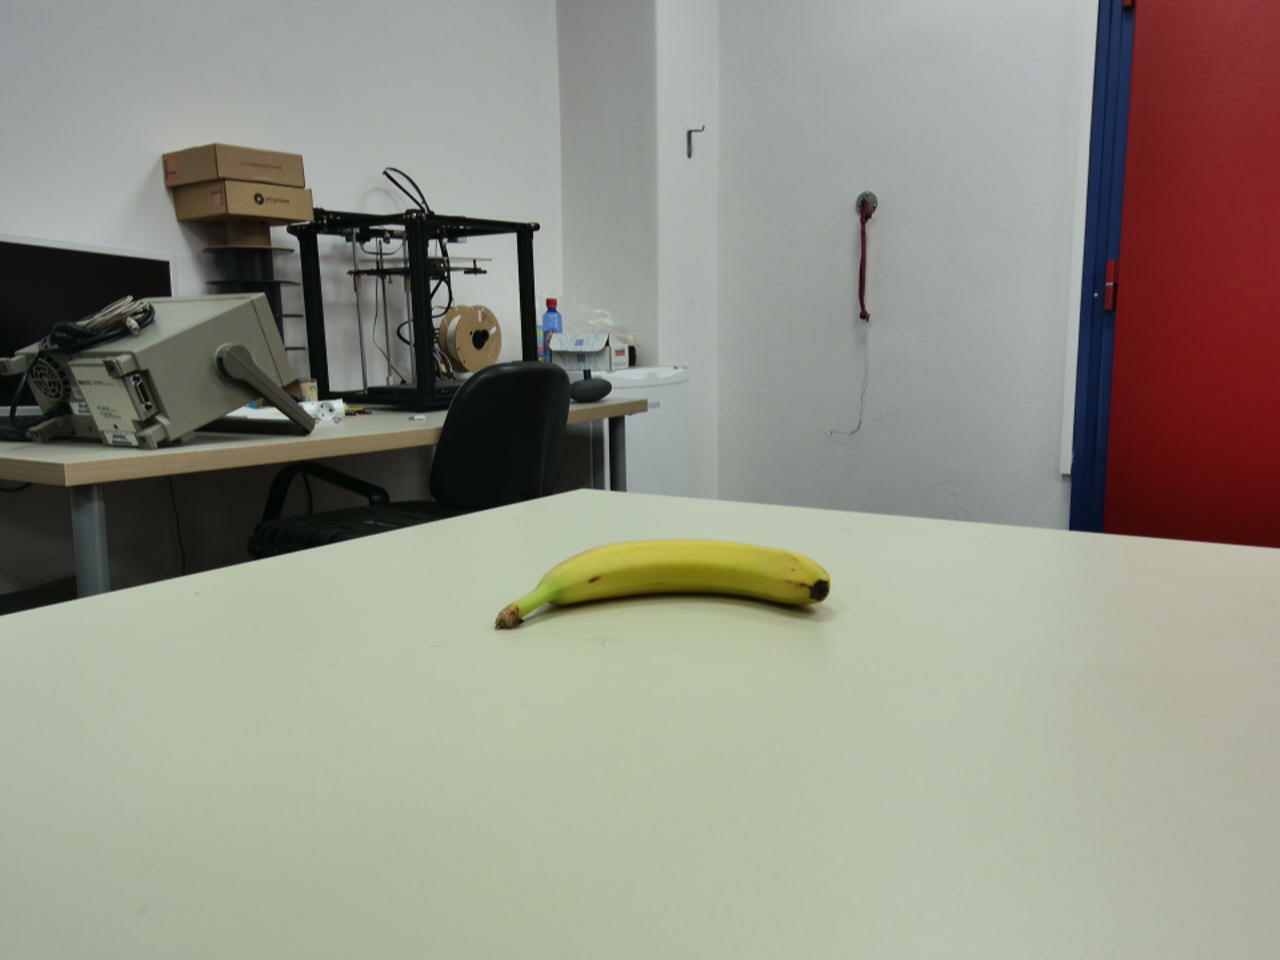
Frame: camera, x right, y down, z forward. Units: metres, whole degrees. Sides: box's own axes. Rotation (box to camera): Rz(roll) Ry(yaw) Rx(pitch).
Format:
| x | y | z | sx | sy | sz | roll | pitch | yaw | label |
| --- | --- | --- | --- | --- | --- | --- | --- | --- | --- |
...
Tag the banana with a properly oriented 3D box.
| x | y | z | sx | sy | sz | roll | pitch | yaw | label |
| --- | --- | --- | --- | --- | --- | --- | --- | --- | --- |
| 0.013 | 0.061 | 0.624 | 0.196 | 0.041 | 0.094 | 0 | 6 | -1 | banana |
